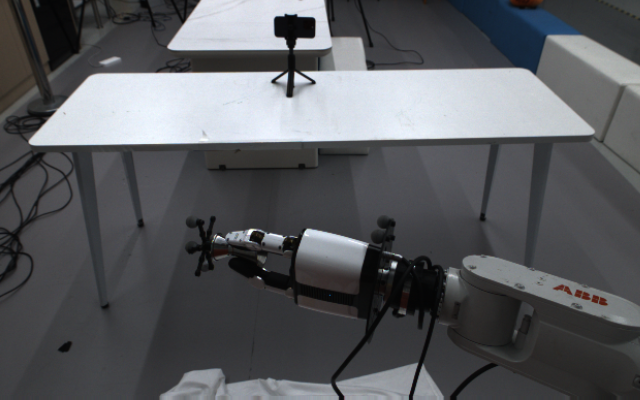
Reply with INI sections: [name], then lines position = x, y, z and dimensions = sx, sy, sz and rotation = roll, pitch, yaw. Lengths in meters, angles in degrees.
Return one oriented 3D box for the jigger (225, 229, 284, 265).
[jigger]
position = -0.103, 0.064, 0.665
dimensions = 0.071, 0.043, 0.043
rotation = 4, 34, 13
